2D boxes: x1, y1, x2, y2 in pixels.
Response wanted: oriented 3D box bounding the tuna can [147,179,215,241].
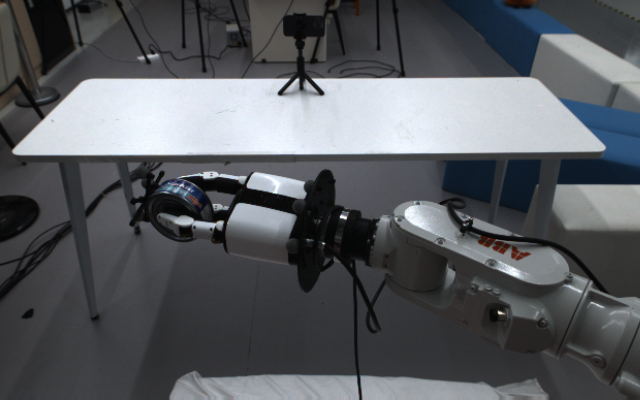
[{"bbox_3d":[-0.190,0.014,0.658,0.085,0.085,0.034,9,36,9],"label":"tuna can"}]
